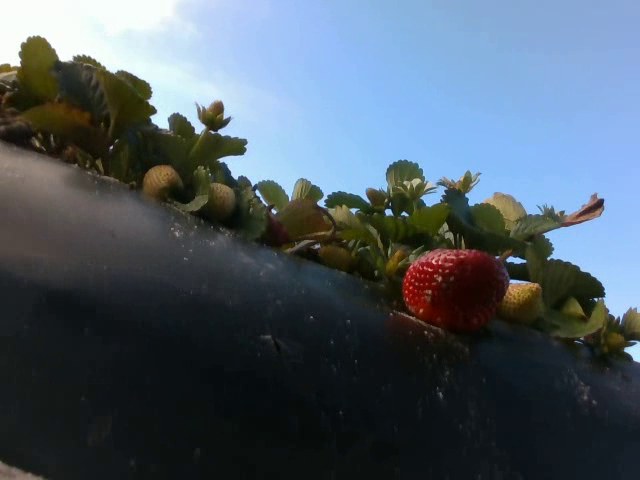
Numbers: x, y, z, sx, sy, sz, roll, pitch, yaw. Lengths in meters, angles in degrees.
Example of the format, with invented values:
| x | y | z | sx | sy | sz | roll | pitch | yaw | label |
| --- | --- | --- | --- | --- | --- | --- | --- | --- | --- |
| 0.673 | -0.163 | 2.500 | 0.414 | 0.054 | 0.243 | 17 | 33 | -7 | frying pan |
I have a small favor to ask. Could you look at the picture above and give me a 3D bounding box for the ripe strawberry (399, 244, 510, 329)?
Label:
| x | y | z | sx | sy | sz | roll | pitch | yaw | label |
| --- | --- | --- | --- | --- | --- | --- | --- | --- | --- |
| 0.074 | 0.019 | 0.318 | 0.052 | 0.045 | 0.068 | 21 | -22 | -4 | ripe strawberry |
